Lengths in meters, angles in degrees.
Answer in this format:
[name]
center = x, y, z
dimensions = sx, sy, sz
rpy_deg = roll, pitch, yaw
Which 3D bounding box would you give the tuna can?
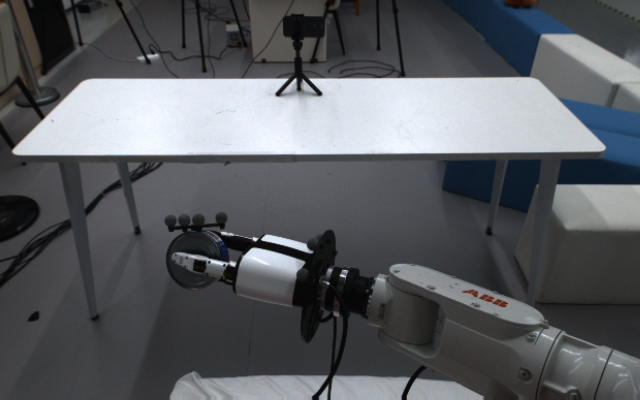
[tuna can]
center = -0.172, 0.089, 0.710
dimensions = 0.085, 0.085, 0.034
rpy_deg = 10, 2, 11
